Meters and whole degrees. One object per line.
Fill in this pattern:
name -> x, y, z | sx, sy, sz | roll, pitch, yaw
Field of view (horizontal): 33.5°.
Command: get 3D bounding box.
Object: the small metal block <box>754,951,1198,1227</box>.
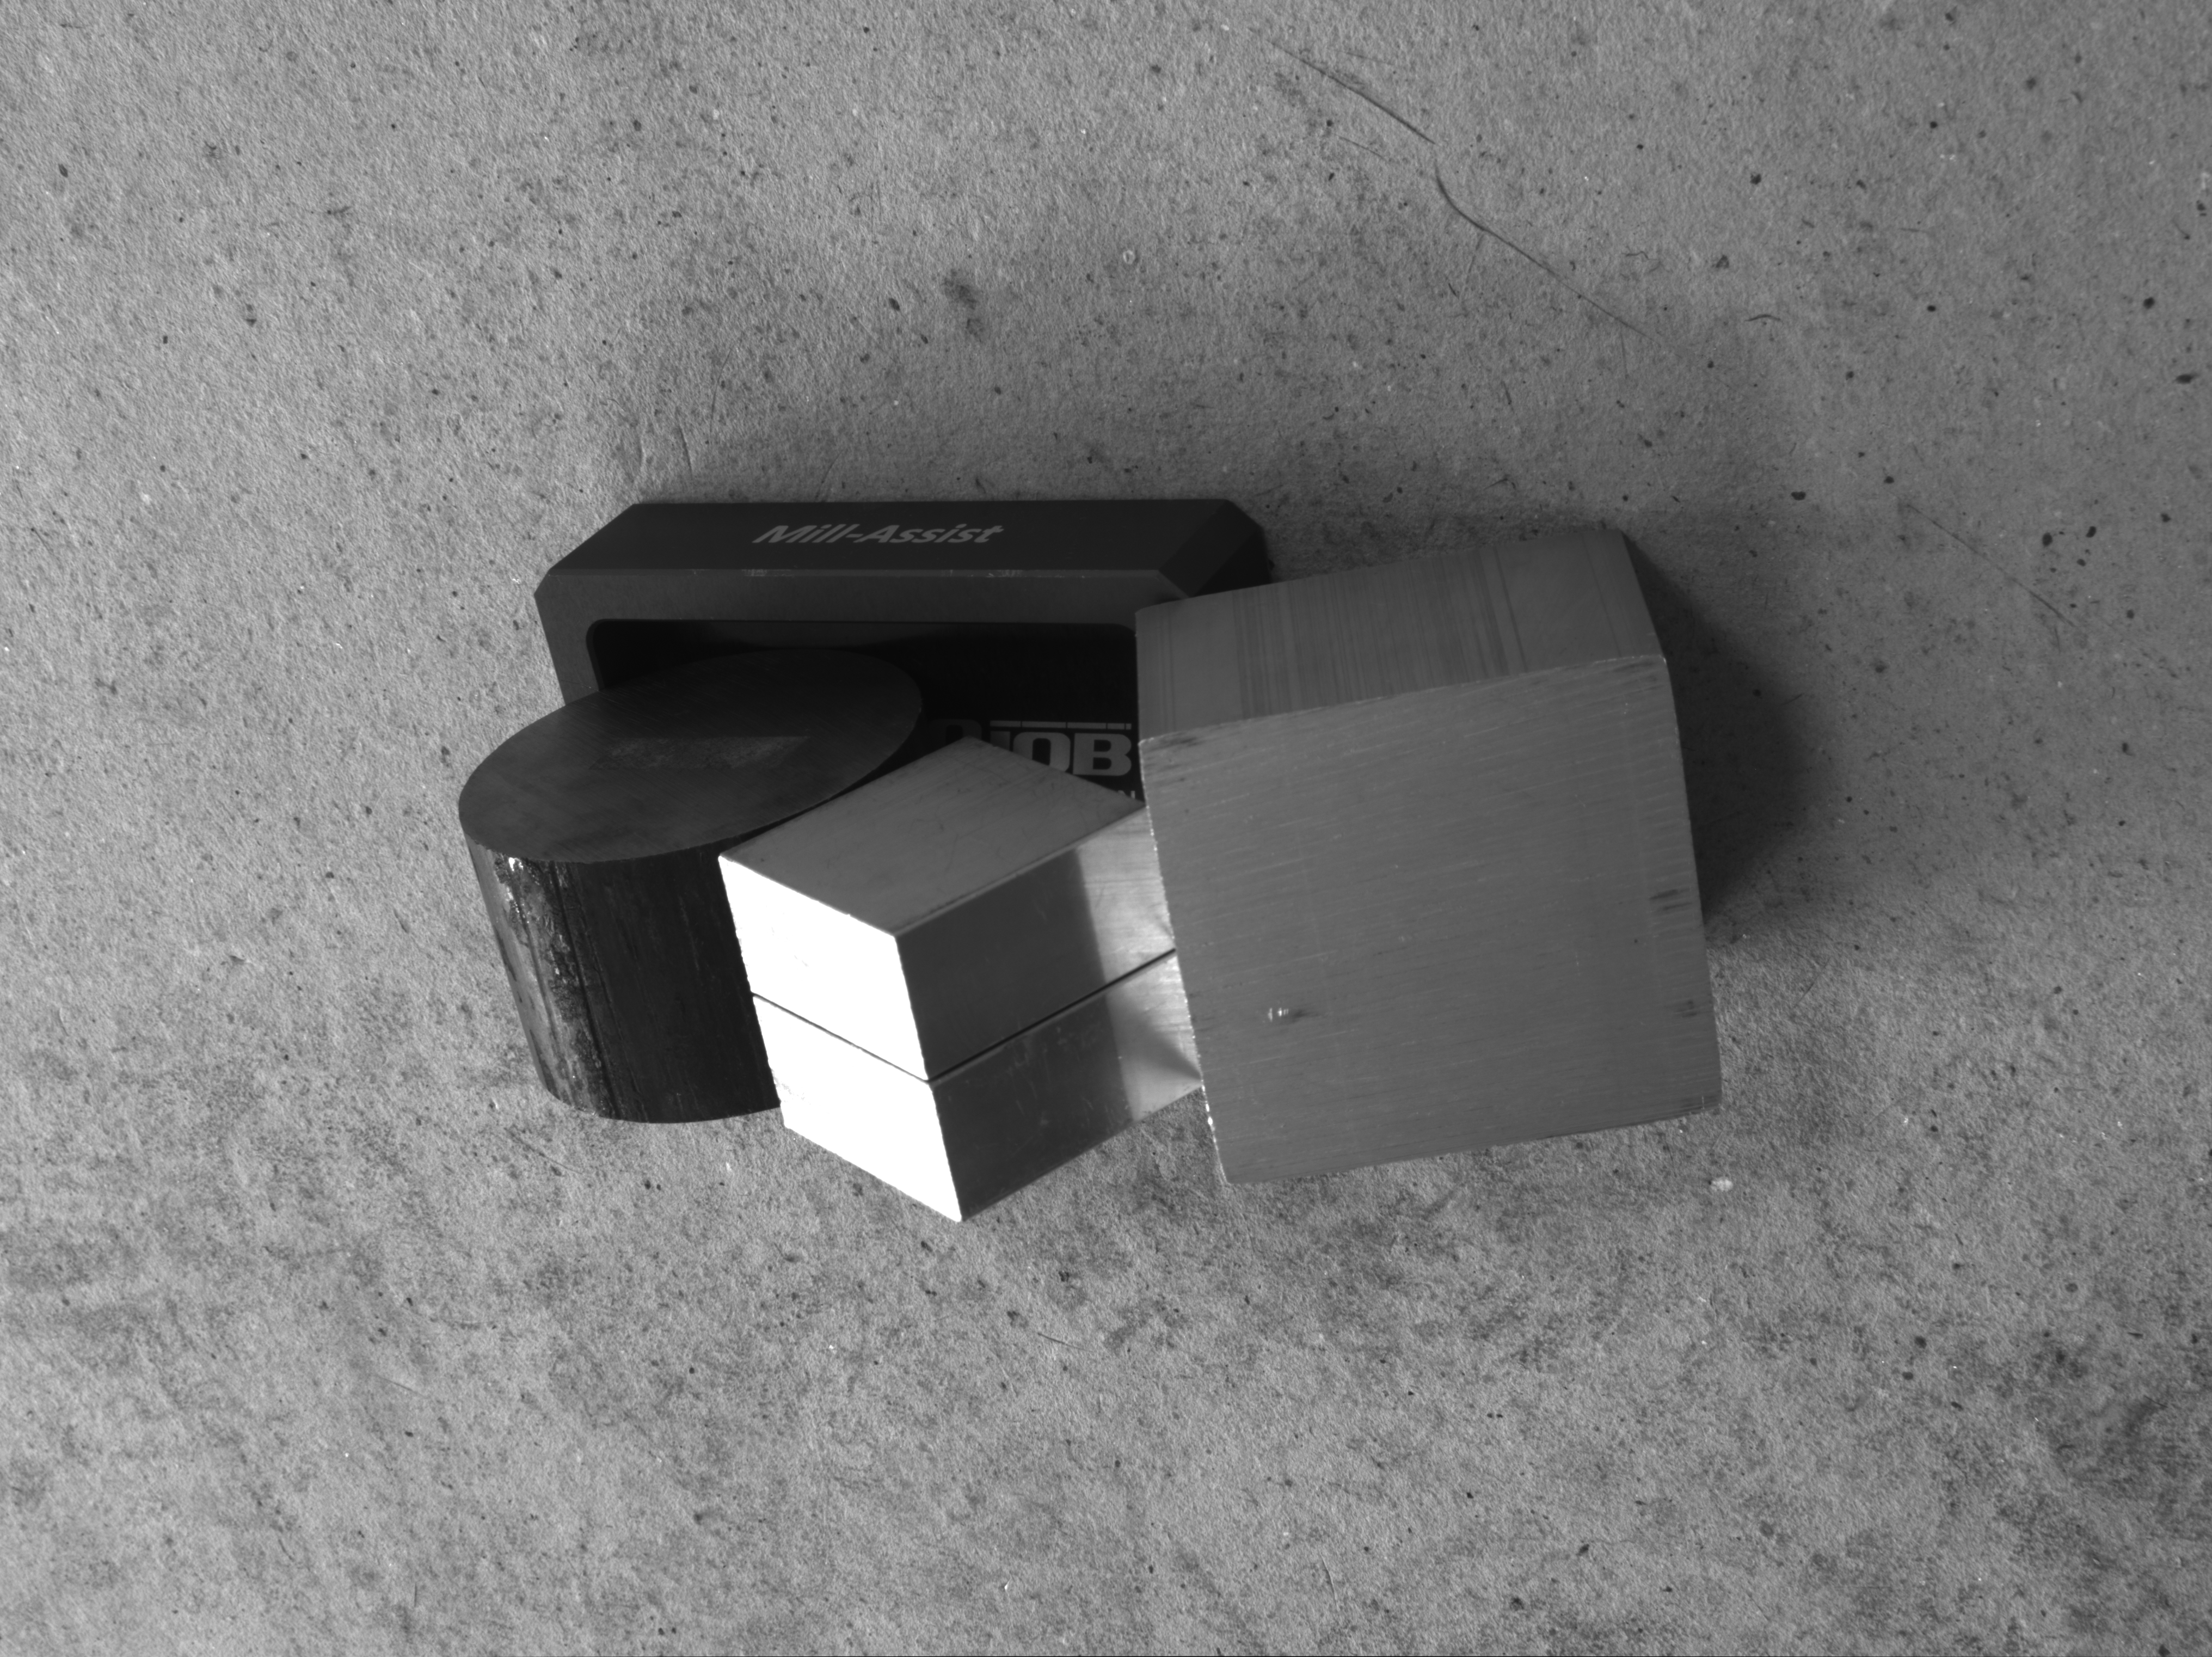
small metal block -> -0.020, 0.034, 0.591 | 0.050, 0.050, 0.025 | 21, 129, 49

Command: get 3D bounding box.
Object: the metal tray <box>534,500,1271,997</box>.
metal tray -> -0.030, -0.011, 0.649 | 0.130, 0.030, 0.090 | 2, 119, 27

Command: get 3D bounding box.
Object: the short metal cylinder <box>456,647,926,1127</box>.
short metal cylinder -> -0.066, 0.009, 0.632 | 0.080, 0.080, 0.050 | 1, 119, 28

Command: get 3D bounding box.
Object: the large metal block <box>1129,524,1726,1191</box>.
large metal block -> 0.051, 0.004, 0.584 | 0.080, 0.050, 0.080 | -10, 116, 4

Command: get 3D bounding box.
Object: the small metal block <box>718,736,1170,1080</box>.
small metal block -> -0.025, 0.011, 0.580 | 0.050, 0.050, 0.025 | 21, 129, 49
